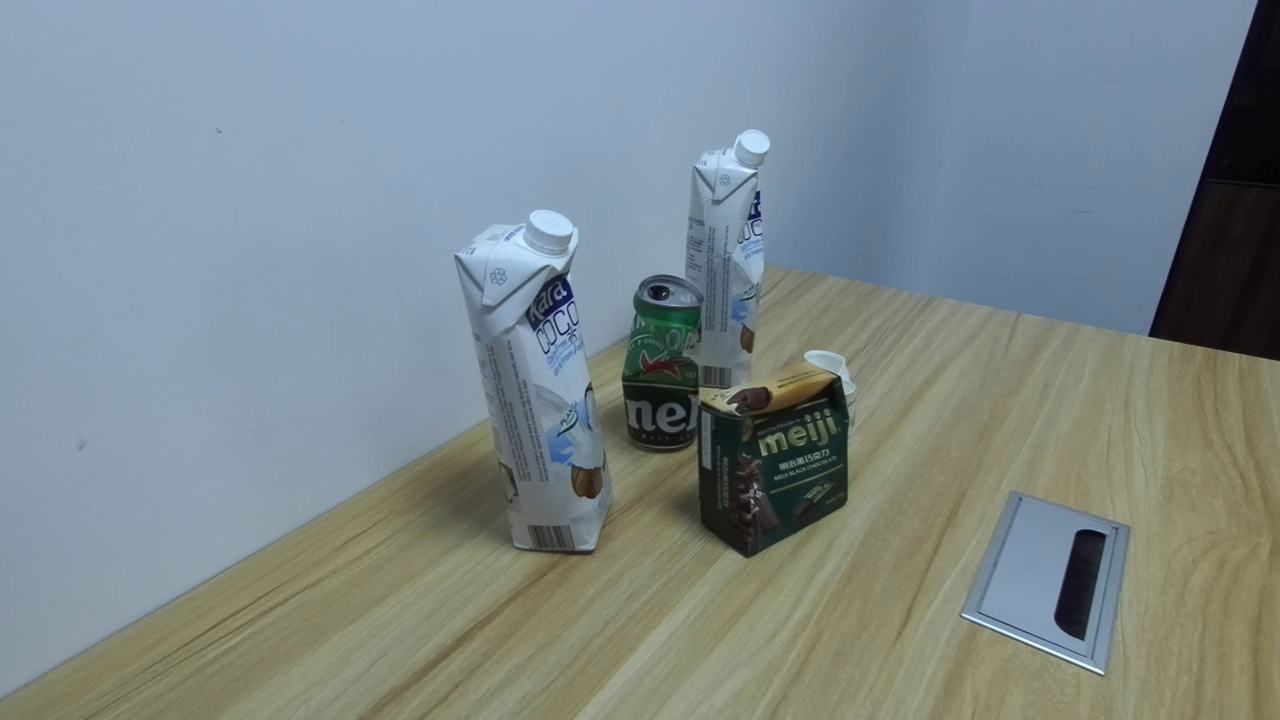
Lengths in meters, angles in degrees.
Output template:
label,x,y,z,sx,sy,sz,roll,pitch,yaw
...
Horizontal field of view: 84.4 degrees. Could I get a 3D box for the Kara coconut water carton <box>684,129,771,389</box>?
label,x,y,z,sx,sy,sz,roll,pitch,yaw
Kara coconut water carton,0.084,-0.097,0.708,0.078,0.256,0.083,12,29,23

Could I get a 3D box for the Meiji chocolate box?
label,x,y,z,sx,sy,sz,roll,pitch,yaw
Meiji chocolate box,0.102,0.073,0.539,0.114,0.111,0.058,-18,22,-33

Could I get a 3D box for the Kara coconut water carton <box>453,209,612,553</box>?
label,x,y,z,sx,sy,sz,roll,pitch,yaw
Kara coconut water carton,-0.068,0.017,0.503,0.071,0.244,0.099,1,29,11

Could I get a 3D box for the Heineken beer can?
label,x,y,z,sx,sy,sz,roll,pitch,yaw
Heineken beer can,0.019,0.006,0.620,0.078,0.159,0.067,23,37,30
